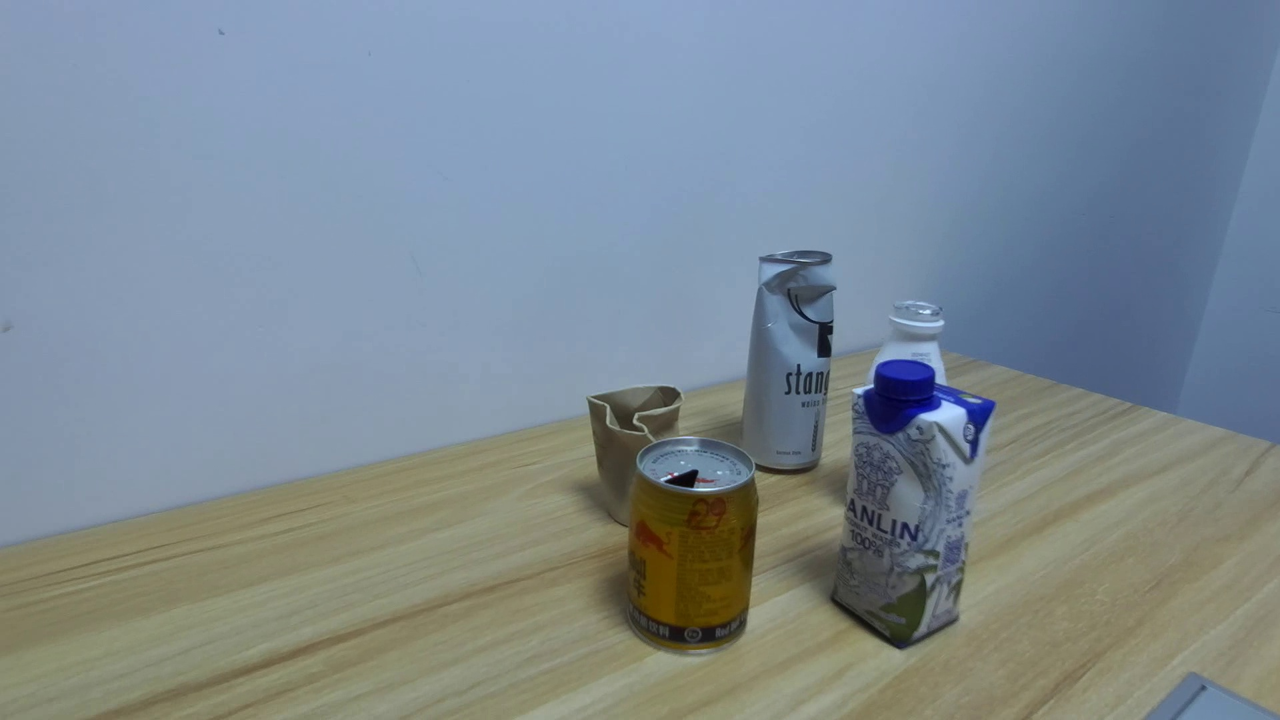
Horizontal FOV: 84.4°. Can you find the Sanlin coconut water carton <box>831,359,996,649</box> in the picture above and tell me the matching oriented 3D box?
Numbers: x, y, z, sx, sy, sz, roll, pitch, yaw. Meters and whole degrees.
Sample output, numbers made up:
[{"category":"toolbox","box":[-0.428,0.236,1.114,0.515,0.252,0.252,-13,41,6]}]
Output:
[{"category":"Sanlin coconut water carton","box":[0.141,0.070,0.371,0.061,0.144,0.060,-8,19,-32]}]

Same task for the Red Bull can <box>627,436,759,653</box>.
[{"category":"Red Bull can","box":[0.027,0.094,0.367,0.067,0.093,0.067,2,19,0]}]

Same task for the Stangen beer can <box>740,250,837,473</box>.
[{"category":"Stangen beer can","box":[0.113,0.002,0.543,0.066,0.166,0.066,0,17,-1]}]

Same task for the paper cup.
[{"category":"paper cup","box":[0.007,0.066,0.470,0.067,0.083,0.058,-11,22,-26]}]

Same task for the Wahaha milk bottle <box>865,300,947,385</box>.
[{"category":"Wahaha milk bottle","box":[0.184,0.025,0.485,0.055,0.150,0.055,-6,36,4]}]
